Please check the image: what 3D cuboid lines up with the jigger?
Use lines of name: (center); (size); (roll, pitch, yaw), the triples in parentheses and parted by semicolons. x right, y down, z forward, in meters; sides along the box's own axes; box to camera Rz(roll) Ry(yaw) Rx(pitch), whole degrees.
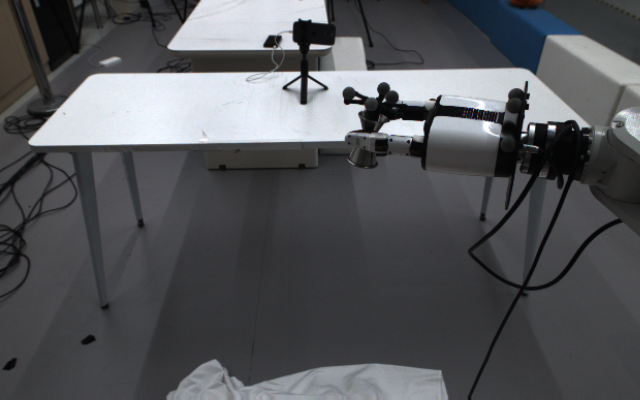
jigger: (0.064, -0.083, 0.661); (0.043, 0.071, 0.043); (9, 30, -6)
